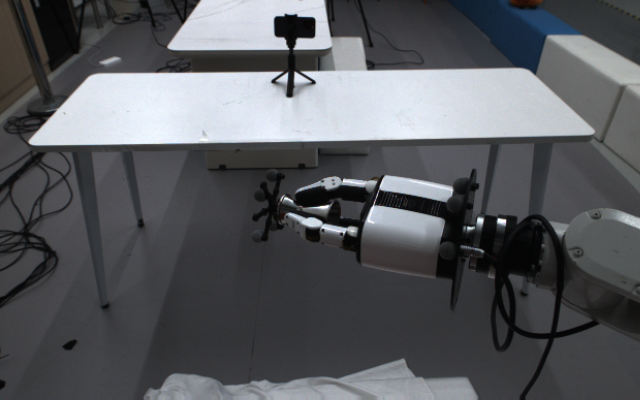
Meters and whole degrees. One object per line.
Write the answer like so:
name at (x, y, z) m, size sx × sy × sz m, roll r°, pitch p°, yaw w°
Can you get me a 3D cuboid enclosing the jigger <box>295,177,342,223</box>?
jigger at (-0.008, 0.015, 0.595) m, size 0.071 × 0.043 × 0.043 m, roll 10°, pitch 35°, yaw 22°
